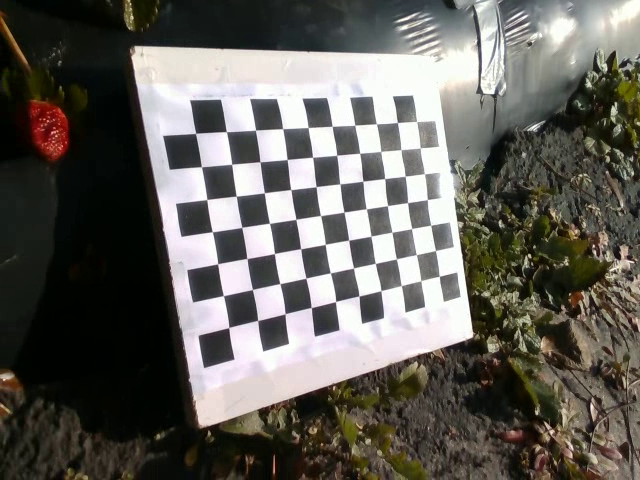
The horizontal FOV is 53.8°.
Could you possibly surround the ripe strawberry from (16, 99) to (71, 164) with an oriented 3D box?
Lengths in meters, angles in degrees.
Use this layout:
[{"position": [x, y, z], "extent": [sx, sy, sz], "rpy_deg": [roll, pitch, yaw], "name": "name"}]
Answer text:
[{"position": [-0.063, -0.025, 0.143], "extent": [0.015, 0.015, 0.023], "rpy_deg": [0, 35, -34], "name": "ripe strawberry"}]
